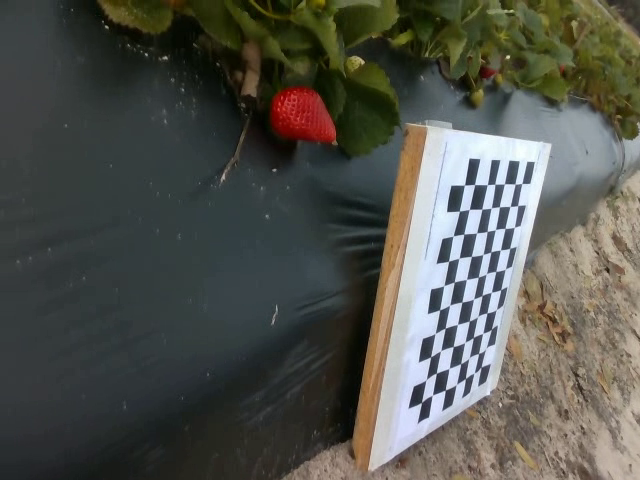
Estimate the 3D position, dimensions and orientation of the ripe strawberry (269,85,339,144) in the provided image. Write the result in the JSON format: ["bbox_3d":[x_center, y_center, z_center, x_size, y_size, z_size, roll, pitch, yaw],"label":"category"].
[{"bbox_3d":[-0.007,-0.067,0.329,0.046,0.037,0.036,40,-20,3],"label":"ripe strawberry"}]
